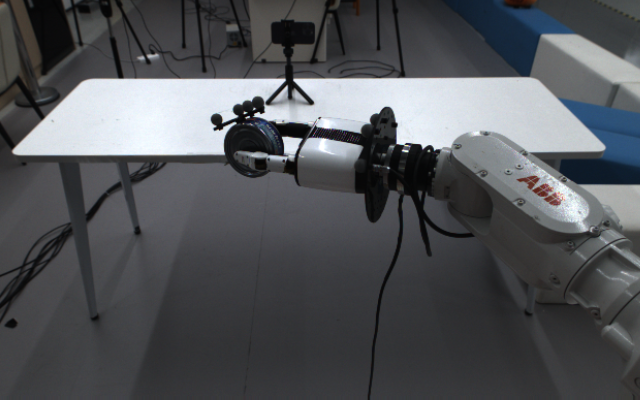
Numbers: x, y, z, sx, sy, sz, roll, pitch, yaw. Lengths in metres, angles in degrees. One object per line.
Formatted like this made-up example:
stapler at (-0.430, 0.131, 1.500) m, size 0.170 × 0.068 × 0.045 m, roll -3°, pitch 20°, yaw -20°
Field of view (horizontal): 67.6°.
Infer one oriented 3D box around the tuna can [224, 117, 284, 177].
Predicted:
tuna can at (-0.095, -0.072, 0.715) m, size 0.085 × 0.085 × 0.034 m, roll 14°, pitch 30°, yaw 17°
